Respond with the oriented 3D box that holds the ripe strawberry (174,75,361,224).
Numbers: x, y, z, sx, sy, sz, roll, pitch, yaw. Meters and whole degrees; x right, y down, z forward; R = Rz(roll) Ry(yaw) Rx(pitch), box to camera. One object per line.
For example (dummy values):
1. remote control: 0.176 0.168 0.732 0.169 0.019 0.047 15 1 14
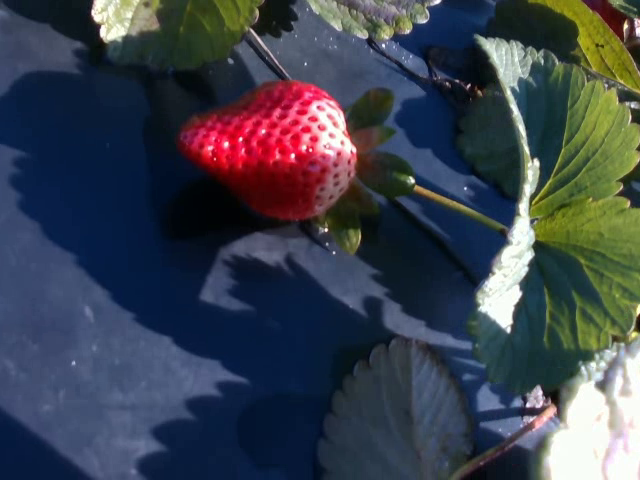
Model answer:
1. ripe strawberry: -0.013 -0.021 0.149 0.055 0.042 0.044 -1 5 -36
